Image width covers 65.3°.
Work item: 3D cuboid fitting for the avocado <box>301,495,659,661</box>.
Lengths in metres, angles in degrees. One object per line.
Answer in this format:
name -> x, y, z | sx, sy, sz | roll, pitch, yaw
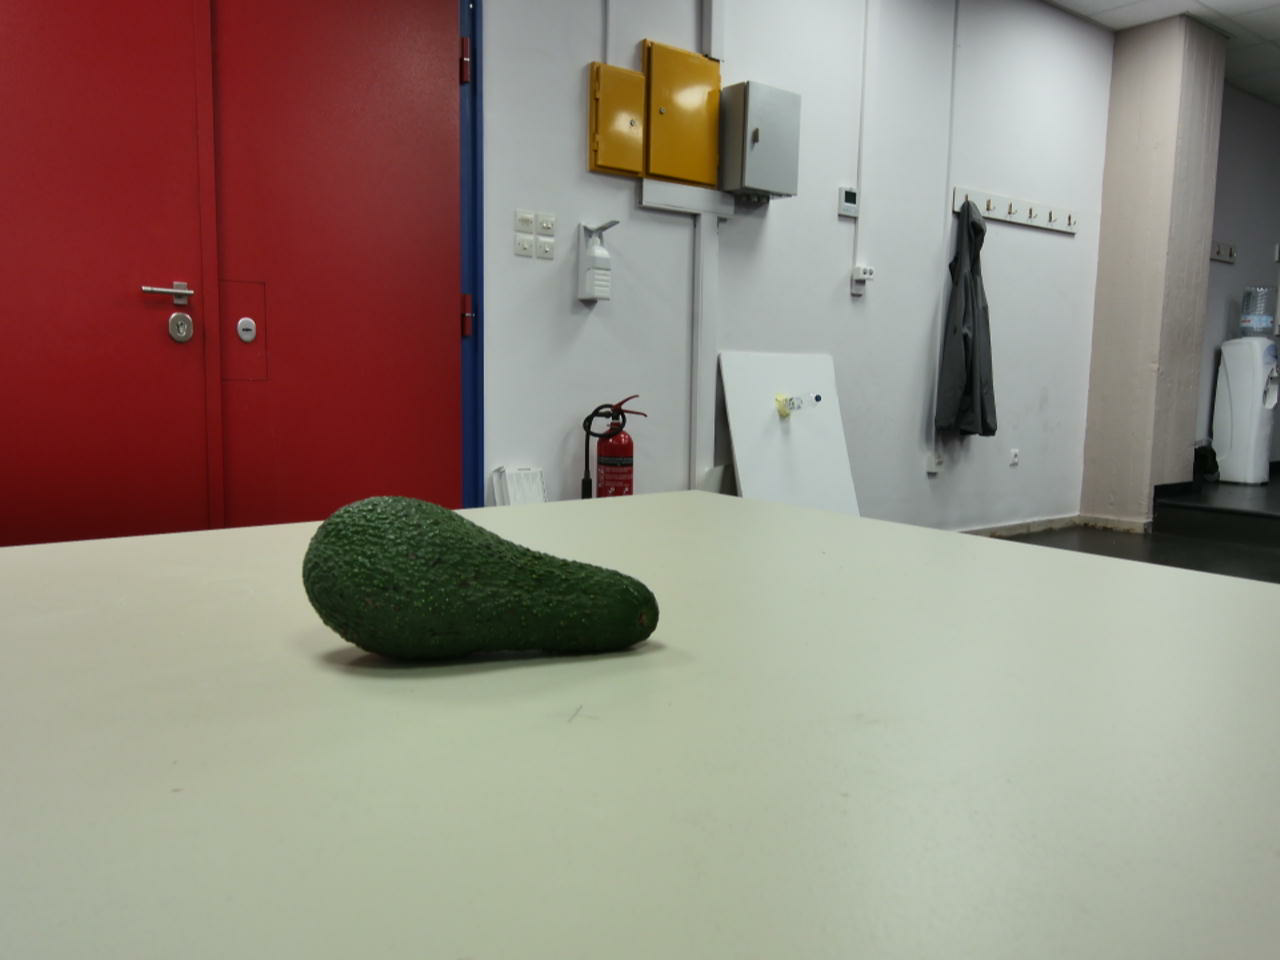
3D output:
avocado -> -0.064, 0.038, 0.411 | 0.141, 0.067, 0.063 | -2, 4, -24
